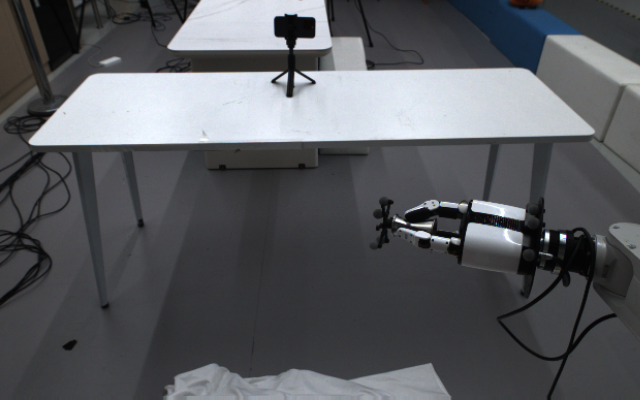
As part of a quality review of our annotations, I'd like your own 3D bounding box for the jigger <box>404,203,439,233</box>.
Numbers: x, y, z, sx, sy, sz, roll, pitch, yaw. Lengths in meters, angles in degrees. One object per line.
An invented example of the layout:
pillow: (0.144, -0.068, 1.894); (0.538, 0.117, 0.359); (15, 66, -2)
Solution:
jigger: (0.163, 0.043, 0.808); (0.071, 0.043, 0.043); (8, 34, 23)
